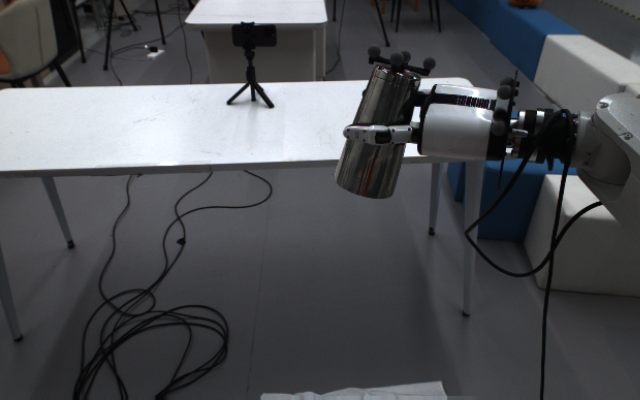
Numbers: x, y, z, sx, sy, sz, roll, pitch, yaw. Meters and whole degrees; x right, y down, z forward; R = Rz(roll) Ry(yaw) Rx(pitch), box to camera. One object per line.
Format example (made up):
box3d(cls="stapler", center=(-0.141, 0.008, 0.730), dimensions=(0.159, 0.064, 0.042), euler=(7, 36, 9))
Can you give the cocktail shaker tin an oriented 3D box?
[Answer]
box3d(cls="cocktail shaker tin", center=(0.087, -0.101, 0.684), dimensions=(0.093, 0.170, 0.093), euler=(11, 24, -5))
